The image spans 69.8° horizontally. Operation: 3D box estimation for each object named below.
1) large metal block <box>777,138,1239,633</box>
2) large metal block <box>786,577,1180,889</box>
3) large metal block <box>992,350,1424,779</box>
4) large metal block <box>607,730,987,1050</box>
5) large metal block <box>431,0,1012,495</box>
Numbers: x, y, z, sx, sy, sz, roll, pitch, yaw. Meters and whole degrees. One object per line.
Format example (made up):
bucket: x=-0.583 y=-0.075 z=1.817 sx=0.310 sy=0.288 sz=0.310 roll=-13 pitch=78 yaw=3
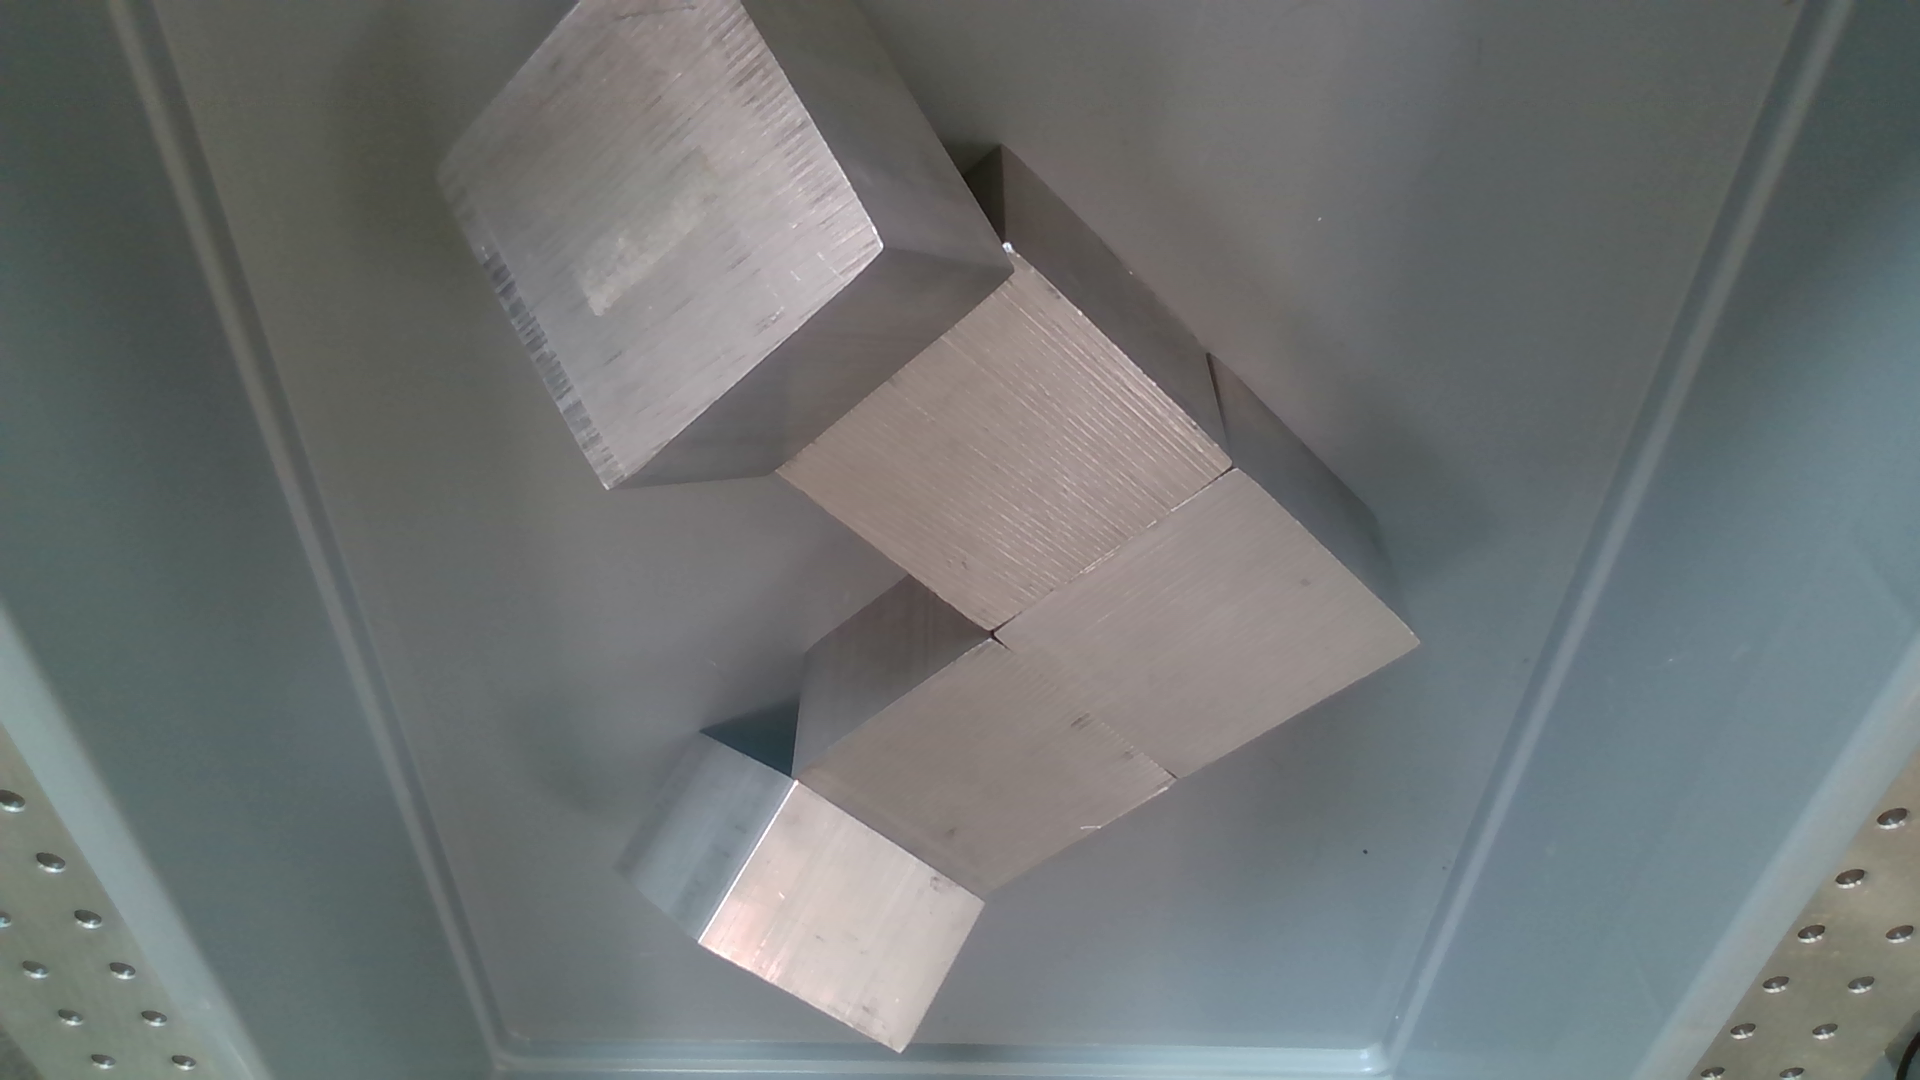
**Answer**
large metal block: x=0.009 y=-0.035 z=0.341 sx=0.080 sy=0.050 sz=0.080 roll=-36 pitch=121 yaw=27
large metal block: x=0.007 y=0.052 z=0.415 sx=0.080 sy=0.050 sz=0.080 roll=-36 pitch=121 yaw=27
large metal block: x=0.065 y=0.009 z=0.379 sx=0.080 sy=0.050 sz=0.080 roll=-36 pitch=121 yaw=27
large metal block: x=-0.053 y=0.108 z=0.435 sx=0.080 sy=0.050 sz=0.080 roll=38 pitch=164 yaw=-28
large metal block: x=-0.050 y=-0.066 z=0.287 sx=0.080 sy=0.050 sz=0.080 roll=-36 pitch=79 yaw=27
